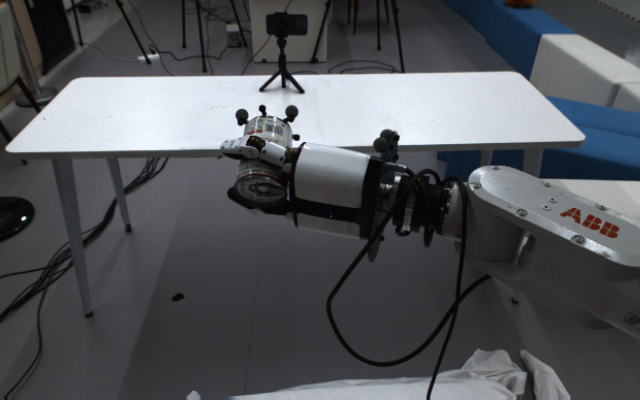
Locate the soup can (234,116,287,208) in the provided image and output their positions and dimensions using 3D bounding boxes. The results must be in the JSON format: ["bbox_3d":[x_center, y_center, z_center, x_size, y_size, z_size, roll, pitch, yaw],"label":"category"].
[{"bbox_3d":[-0.071,-0.050,0.626,0.067,0.067,0.101,3,56,1],"label":"soup can"}]
